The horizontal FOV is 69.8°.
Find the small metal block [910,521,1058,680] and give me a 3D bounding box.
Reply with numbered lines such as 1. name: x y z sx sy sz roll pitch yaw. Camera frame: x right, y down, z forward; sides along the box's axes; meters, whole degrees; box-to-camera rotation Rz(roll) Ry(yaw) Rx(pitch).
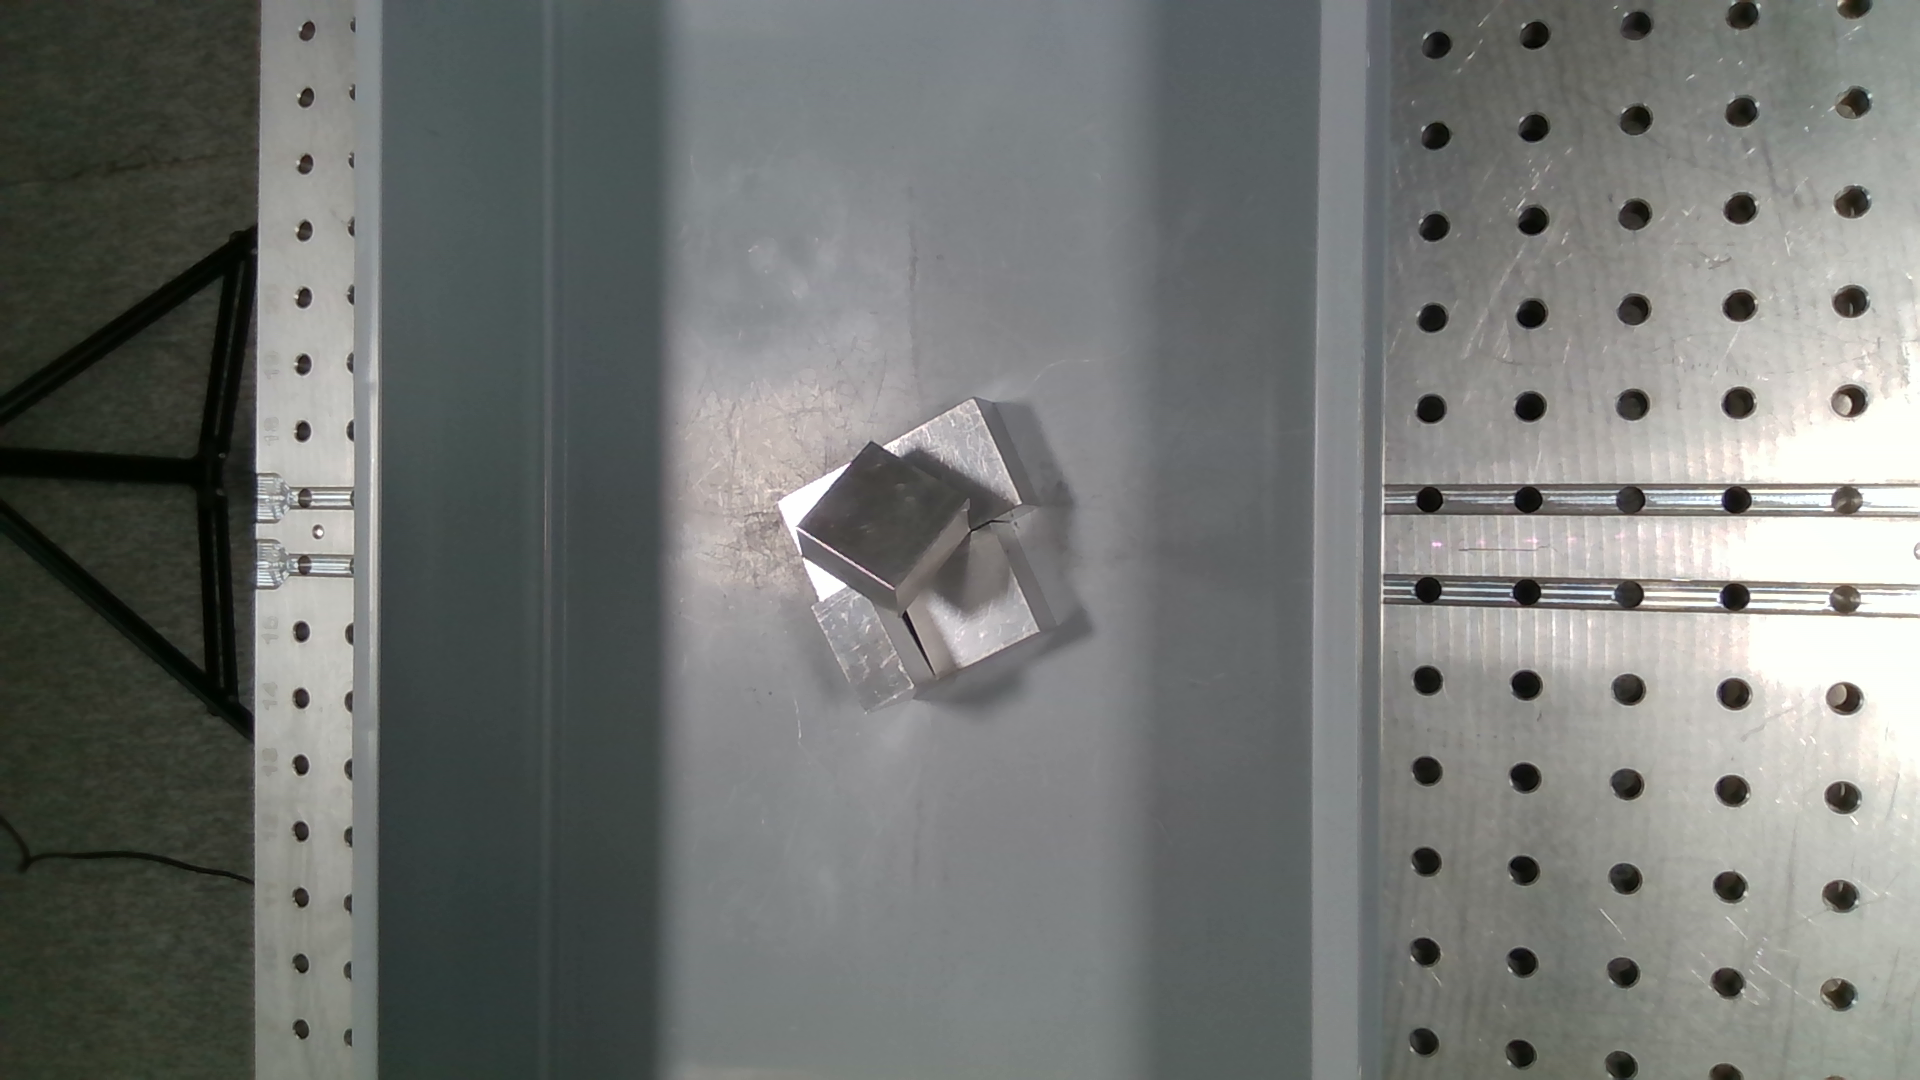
1. small metal block: 0.006 0.025 0.583 0.050 0.025 0.050 -27 82 19

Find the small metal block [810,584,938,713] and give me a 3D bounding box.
1. small metal block: -0.032 0.042 0.583 0.025 0.050 0.050 -30 81 18

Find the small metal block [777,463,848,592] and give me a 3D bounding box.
1. small metal block: -0.044 -0.006 0.601 0.050 0.025 0.050 -27 82 19

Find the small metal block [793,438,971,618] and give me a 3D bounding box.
1. small metal block: -0.031 -0.005 0.556 0.050 0.025 0.050 31 66 17

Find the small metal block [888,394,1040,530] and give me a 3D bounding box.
1. small metal block: -0.001 -0.027 0.585 0.050 0.025 0.050 -27 82 19
